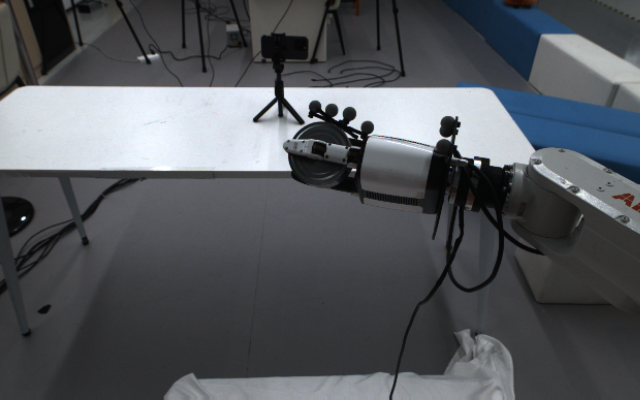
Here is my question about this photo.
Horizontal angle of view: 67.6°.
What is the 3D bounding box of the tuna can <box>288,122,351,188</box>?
[{"bbox_3d":[0.004,-0.061,0.651,0.085,0.085,0.034,13,-6,16],"label":"tuna can"}]
